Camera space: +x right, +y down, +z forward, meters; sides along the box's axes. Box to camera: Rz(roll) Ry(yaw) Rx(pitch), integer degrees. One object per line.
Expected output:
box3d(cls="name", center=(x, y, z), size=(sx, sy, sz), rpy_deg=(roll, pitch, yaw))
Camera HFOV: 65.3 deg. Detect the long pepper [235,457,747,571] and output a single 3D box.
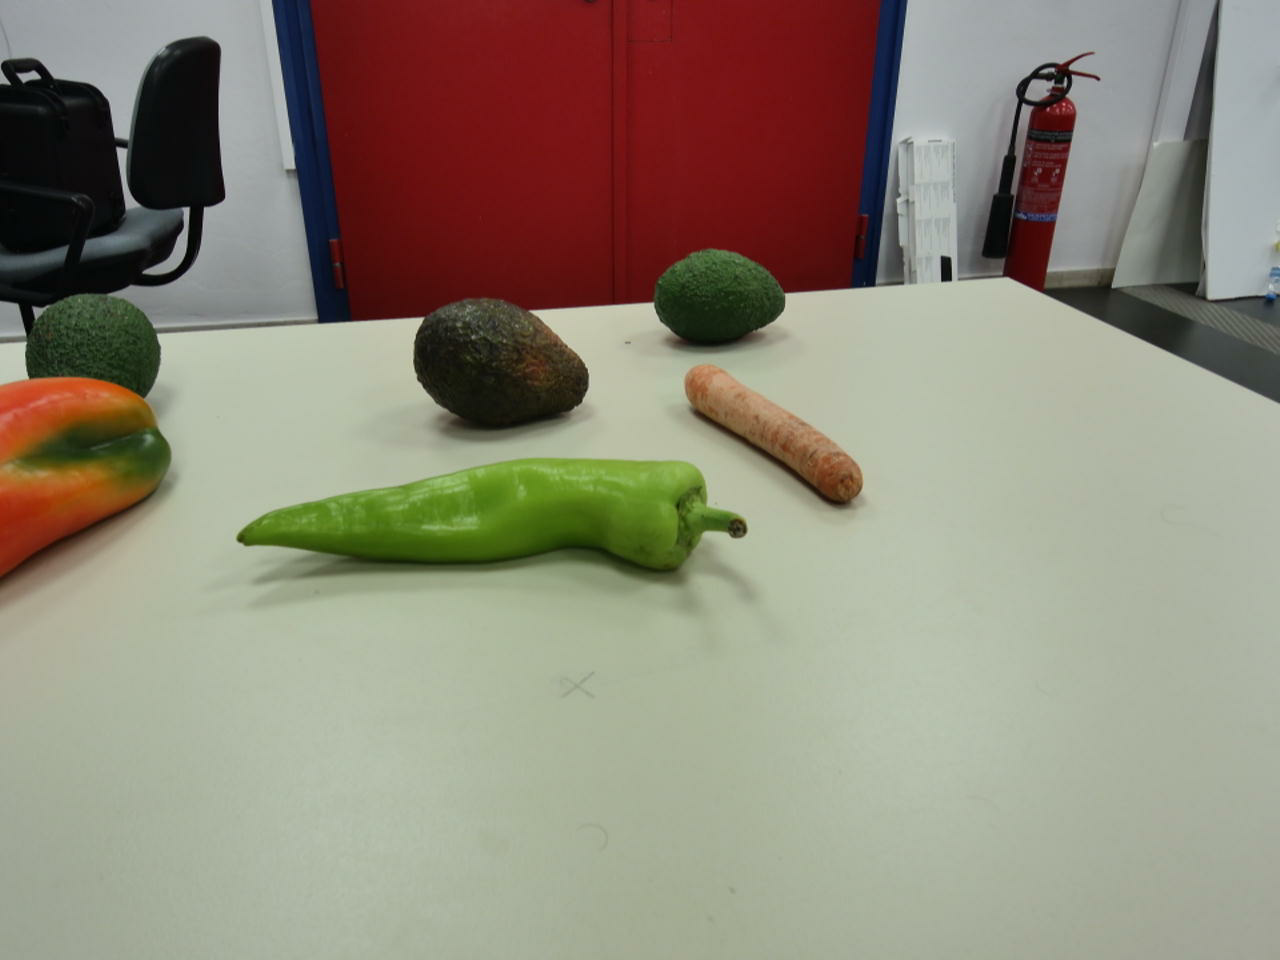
box3d(cls="long pepper", center=(-0.058, 0.013, 0.422), size=(0.205, 0.045, 0.065), rpy_deg=(1, 24, 3))
